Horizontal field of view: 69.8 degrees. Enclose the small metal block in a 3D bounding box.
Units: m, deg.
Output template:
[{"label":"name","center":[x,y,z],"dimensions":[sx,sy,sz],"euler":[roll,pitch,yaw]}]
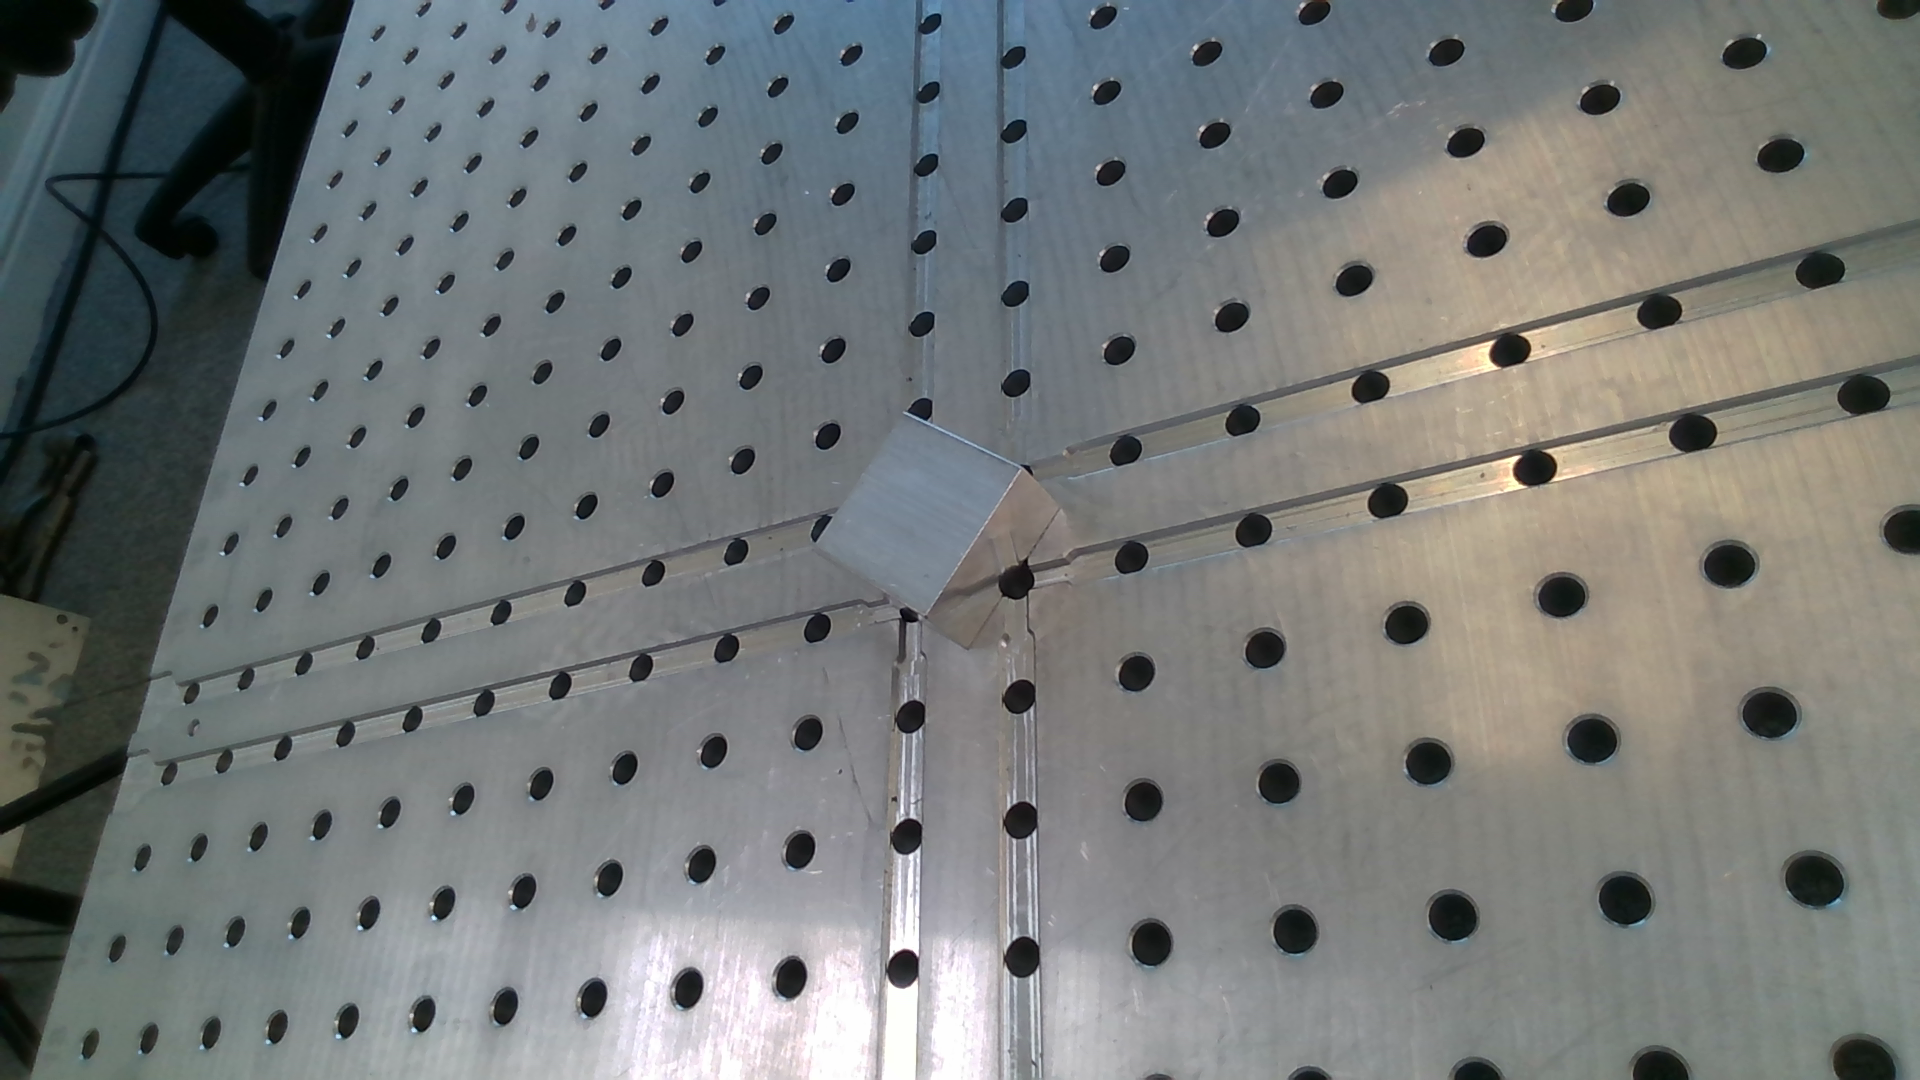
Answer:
[{"label":"small metal block","center":[-0.007,-0.004,0.403],"dimensions":[0.050,0.025,0.050],"euler":[28,83,39]}]
